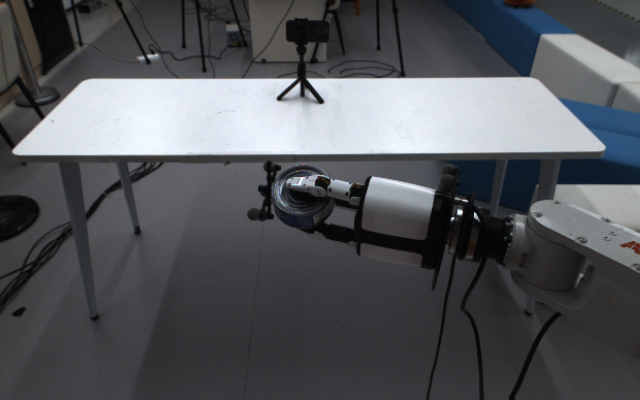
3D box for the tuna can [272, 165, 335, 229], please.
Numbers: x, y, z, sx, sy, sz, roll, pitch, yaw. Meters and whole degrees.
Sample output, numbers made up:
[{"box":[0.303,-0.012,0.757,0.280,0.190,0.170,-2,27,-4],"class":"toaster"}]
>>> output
[{"box":[-0.021,-0.007,0.658,0.085,0.034,0.085,-2,57,3],"class":"tuna can"}]
